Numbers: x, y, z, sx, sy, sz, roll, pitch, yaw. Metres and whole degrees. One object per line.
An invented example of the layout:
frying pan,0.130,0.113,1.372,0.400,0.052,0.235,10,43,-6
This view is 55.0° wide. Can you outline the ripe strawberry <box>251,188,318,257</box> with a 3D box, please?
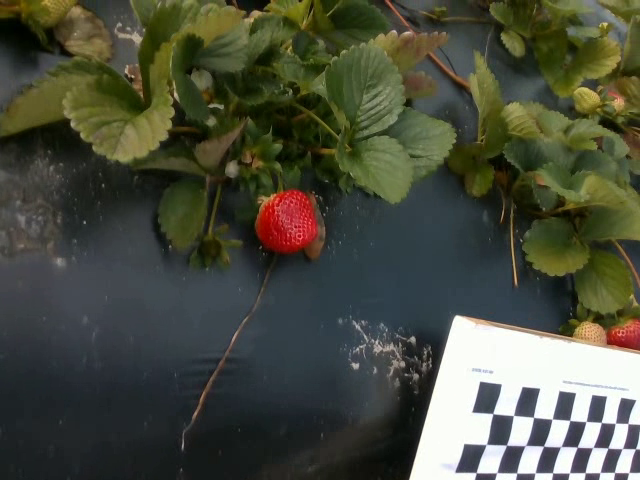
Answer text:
ripe strawberry,-0.022,-0.010,0.437,0.050,0.049,0.053,5,27,-34
